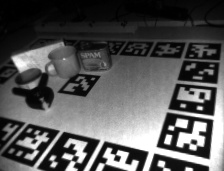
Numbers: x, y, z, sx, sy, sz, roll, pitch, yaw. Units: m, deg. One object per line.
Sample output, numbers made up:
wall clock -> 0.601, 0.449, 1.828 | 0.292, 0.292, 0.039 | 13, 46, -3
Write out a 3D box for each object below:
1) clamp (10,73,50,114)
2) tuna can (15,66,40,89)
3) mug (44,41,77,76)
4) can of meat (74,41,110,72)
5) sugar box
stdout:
clamp -> -0.234, 0.025, 0.648 | 0.123, 0.037, 0.163 | -25, 45, -20
tuna can -> -0.281, -0.025, 0.712 | 0.085, 0.034, 0.085 | -8, 42, 8
mug -> -0.172, -0.079, 0.703 | 0.118, 0.082, 0.092 | -37, 45, -22
can of meat -> -0.061, -0.094, 0.699 | 0.101, 0.084, 0.058 | 3, 42, 18
sugar box -> -0.248, -0.098, 0.752 | 0.177, 0.093, 0.045 | -17, 38, -5
